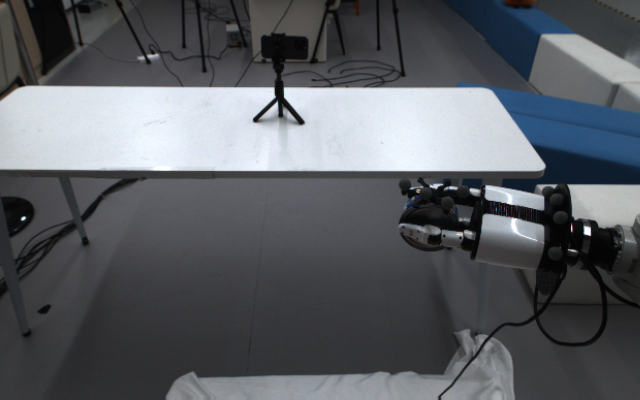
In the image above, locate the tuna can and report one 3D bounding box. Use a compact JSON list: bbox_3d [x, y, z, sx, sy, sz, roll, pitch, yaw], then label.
[{"bbox_3d":[0.162,0.029,0.710,0.085,0.085,0.034,10,34,11],"label":"tuna can"}]
